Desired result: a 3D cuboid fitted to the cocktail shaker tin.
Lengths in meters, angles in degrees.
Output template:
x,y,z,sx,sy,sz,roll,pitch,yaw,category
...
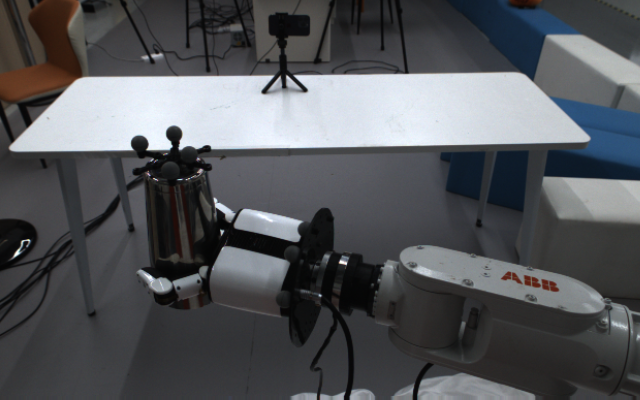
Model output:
x,y,z,sx,sy,sz,roll,pitch,yaw,category
-0.157,0.034,0.563,0.093,0.170,0.093,2,35,-2,cocktail shaker tin
